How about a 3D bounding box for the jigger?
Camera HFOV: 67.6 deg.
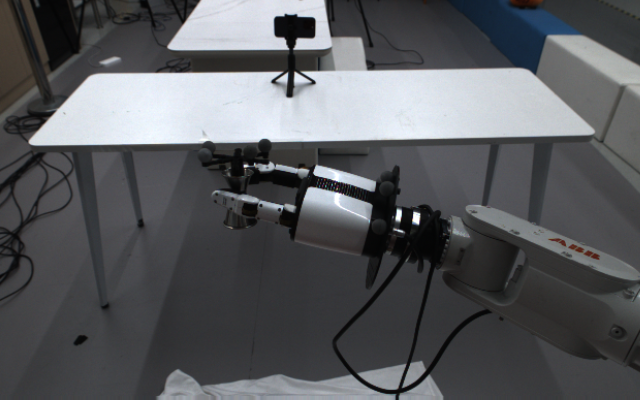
[{"bbox_3d":[-0.102,-0.002,0.611,0.043,0.071,0.043,0,21,0],"label":"jigger"}]
